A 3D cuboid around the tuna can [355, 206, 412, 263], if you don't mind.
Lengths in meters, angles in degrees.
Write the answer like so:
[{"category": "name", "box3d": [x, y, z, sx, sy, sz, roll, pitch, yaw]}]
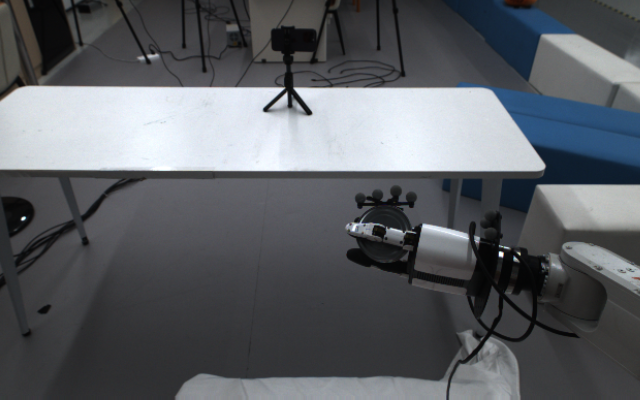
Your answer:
[{"category": "tuna can", "box3d": [0.100, 0.052, 0.741, 0.085, 0.034, 0.085, -5, 73, 15]}]
